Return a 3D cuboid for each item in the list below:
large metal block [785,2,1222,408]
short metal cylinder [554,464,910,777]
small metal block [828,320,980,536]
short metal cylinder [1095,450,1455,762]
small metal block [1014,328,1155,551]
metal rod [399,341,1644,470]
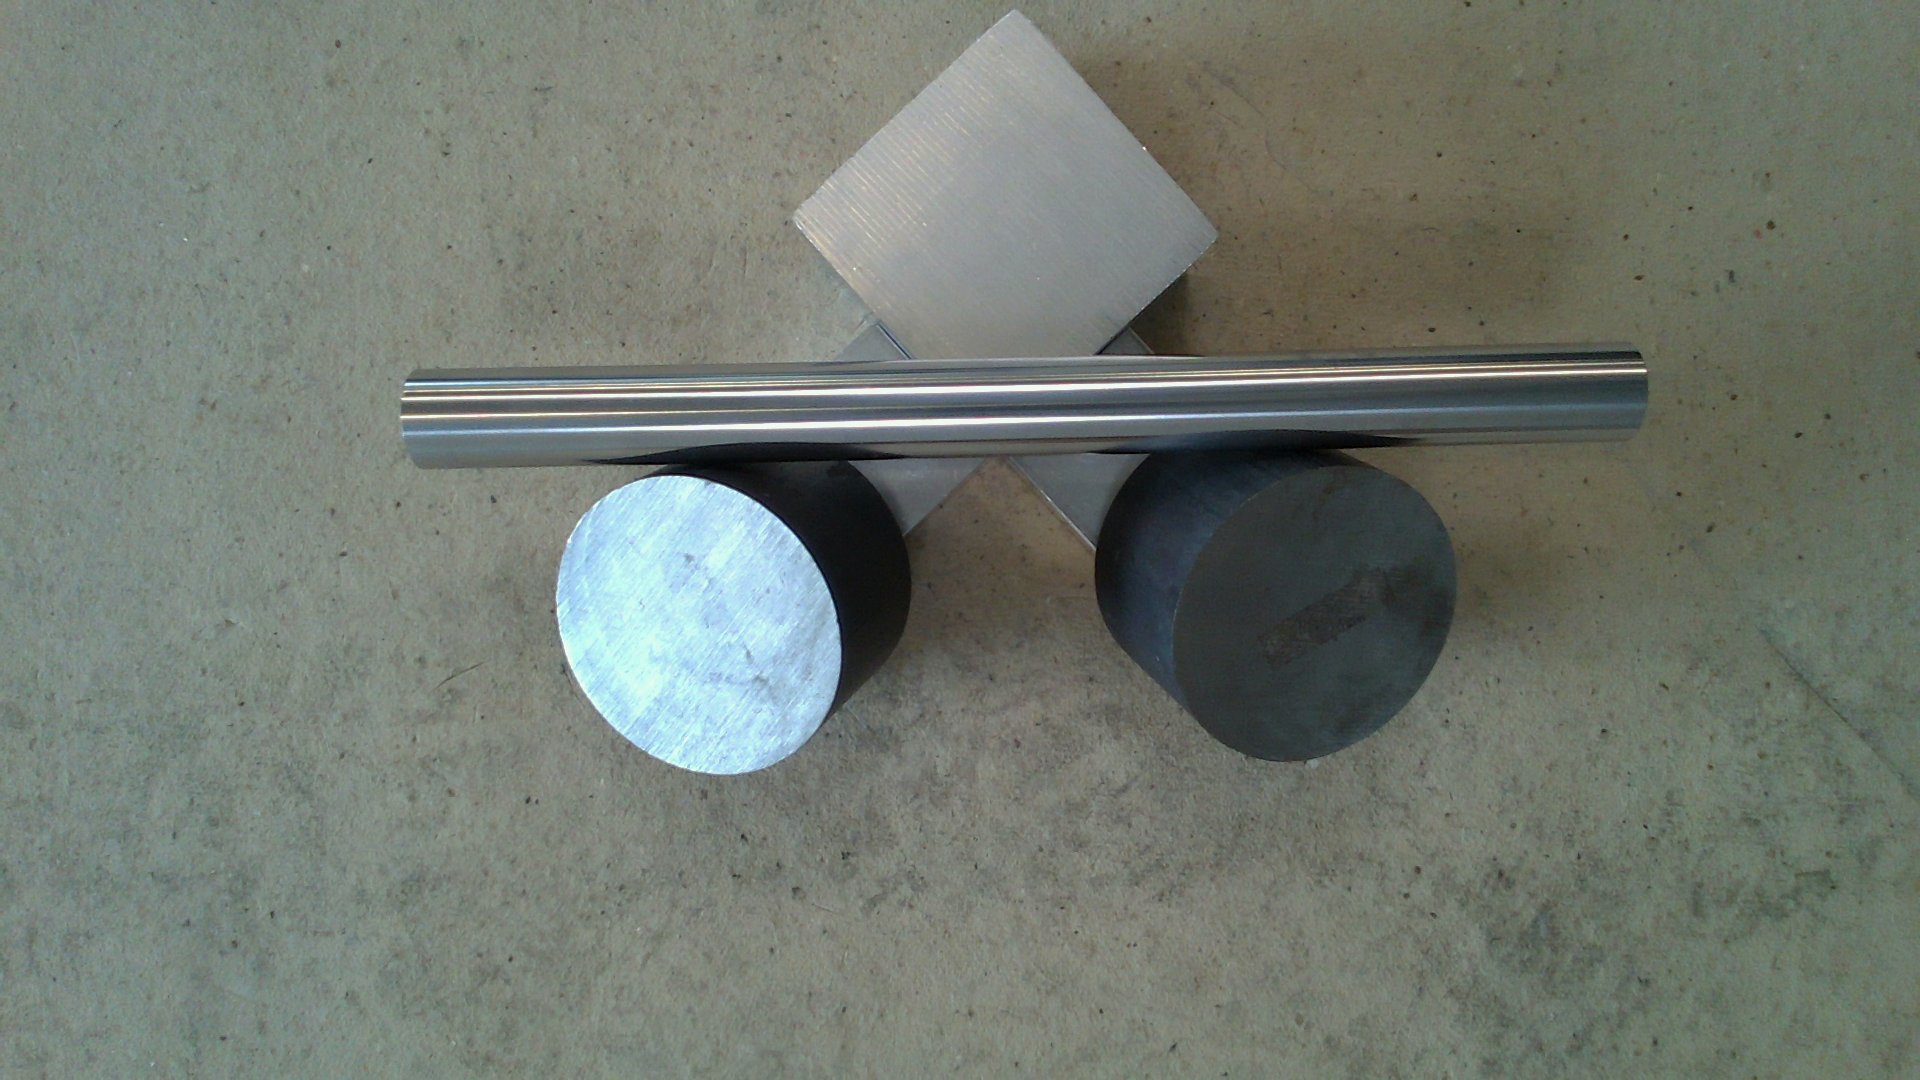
[{"bbox_3d":[0.011,-0.083,0.381,0.080,0.050,0.080,-42,90,0],"label":"large metal block"},{"bbox_3d":[-0.059,0.016,0.368,0.080,0.050,0.080,6,108,17],"label":"short metal cylinder"},{"bbox_3d":[-0.025,-0.026,0.395,0.050,0.025,0.050,-43,90,-1],"label":"small metal block"},{"bbox_3d":[0.083,0.012,0.369,0.080,0.050,0.080,-6,110,-17],"label":"short metal cylinder"},{"bbox_3d":[0.046,-0.025,0.395,0.050,0.025,0.050,-43,90,0],"label":"small metal block"},{"bbox_3d":[0.015,-0.033,0.344,0.300,0.025,0.025,-1,90,0],"label":"metal rod"}]
